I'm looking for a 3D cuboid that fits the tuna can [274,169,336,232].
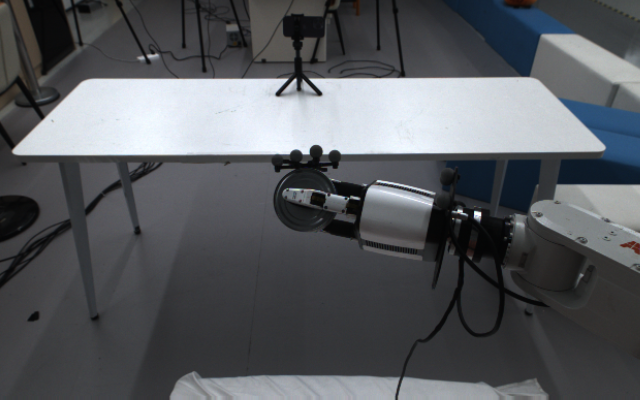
[{"bbox_3d":[-0.015,0.005,0.650,0.085,0.085,0.034,10,-6,11],"label":"tuna can"}]
